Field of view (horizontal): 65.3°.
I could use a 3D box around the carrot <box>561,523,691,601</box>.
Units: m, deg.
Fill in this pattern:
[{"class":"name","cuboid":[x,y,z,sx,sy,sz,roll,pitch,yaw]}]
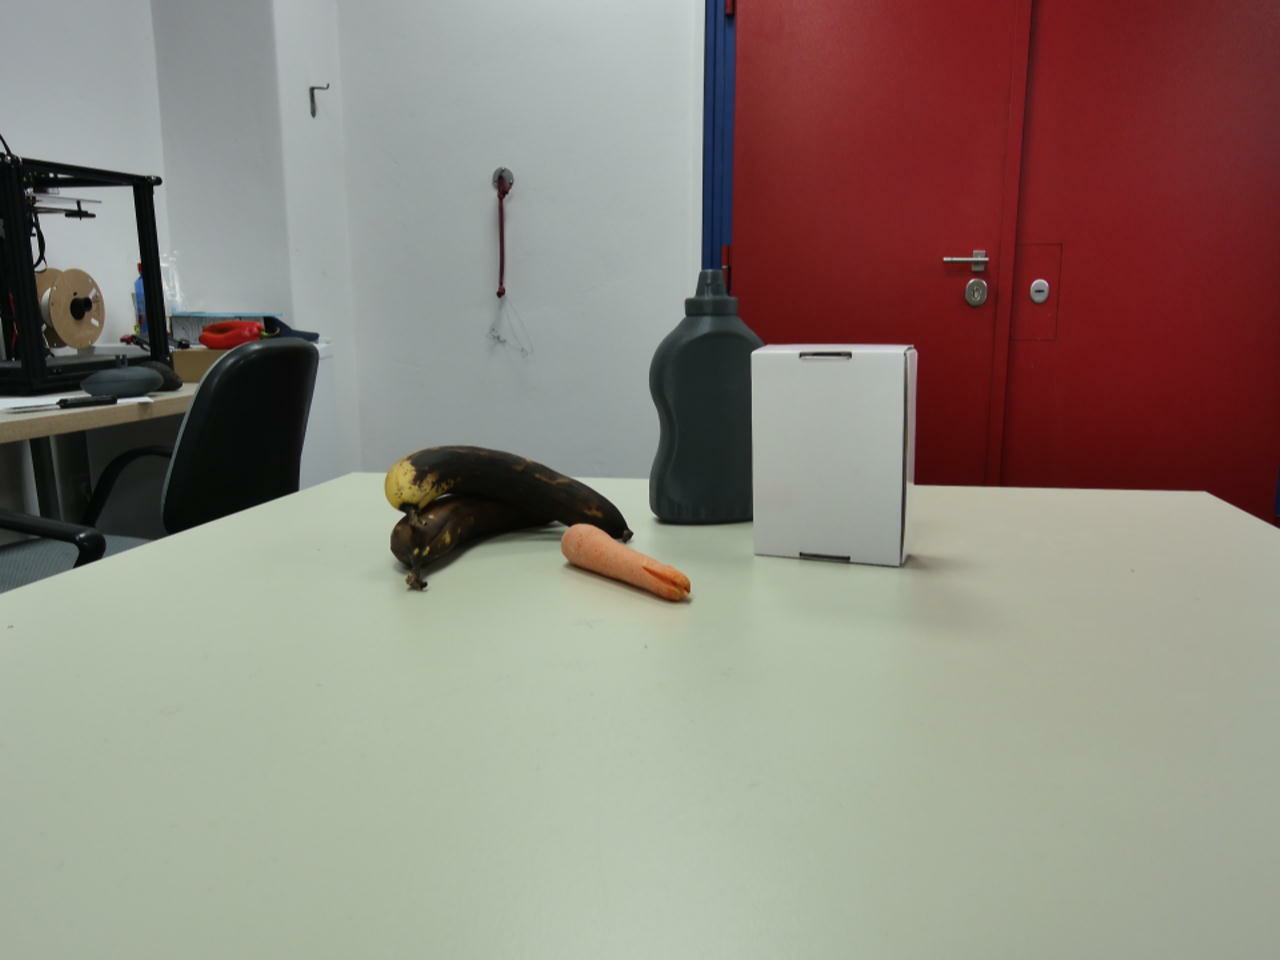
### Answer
[{"class":"carrot","cuboid":[-0.012,0.051,0.659,0.030,0.032,0.136,-4,9,-33]}]
